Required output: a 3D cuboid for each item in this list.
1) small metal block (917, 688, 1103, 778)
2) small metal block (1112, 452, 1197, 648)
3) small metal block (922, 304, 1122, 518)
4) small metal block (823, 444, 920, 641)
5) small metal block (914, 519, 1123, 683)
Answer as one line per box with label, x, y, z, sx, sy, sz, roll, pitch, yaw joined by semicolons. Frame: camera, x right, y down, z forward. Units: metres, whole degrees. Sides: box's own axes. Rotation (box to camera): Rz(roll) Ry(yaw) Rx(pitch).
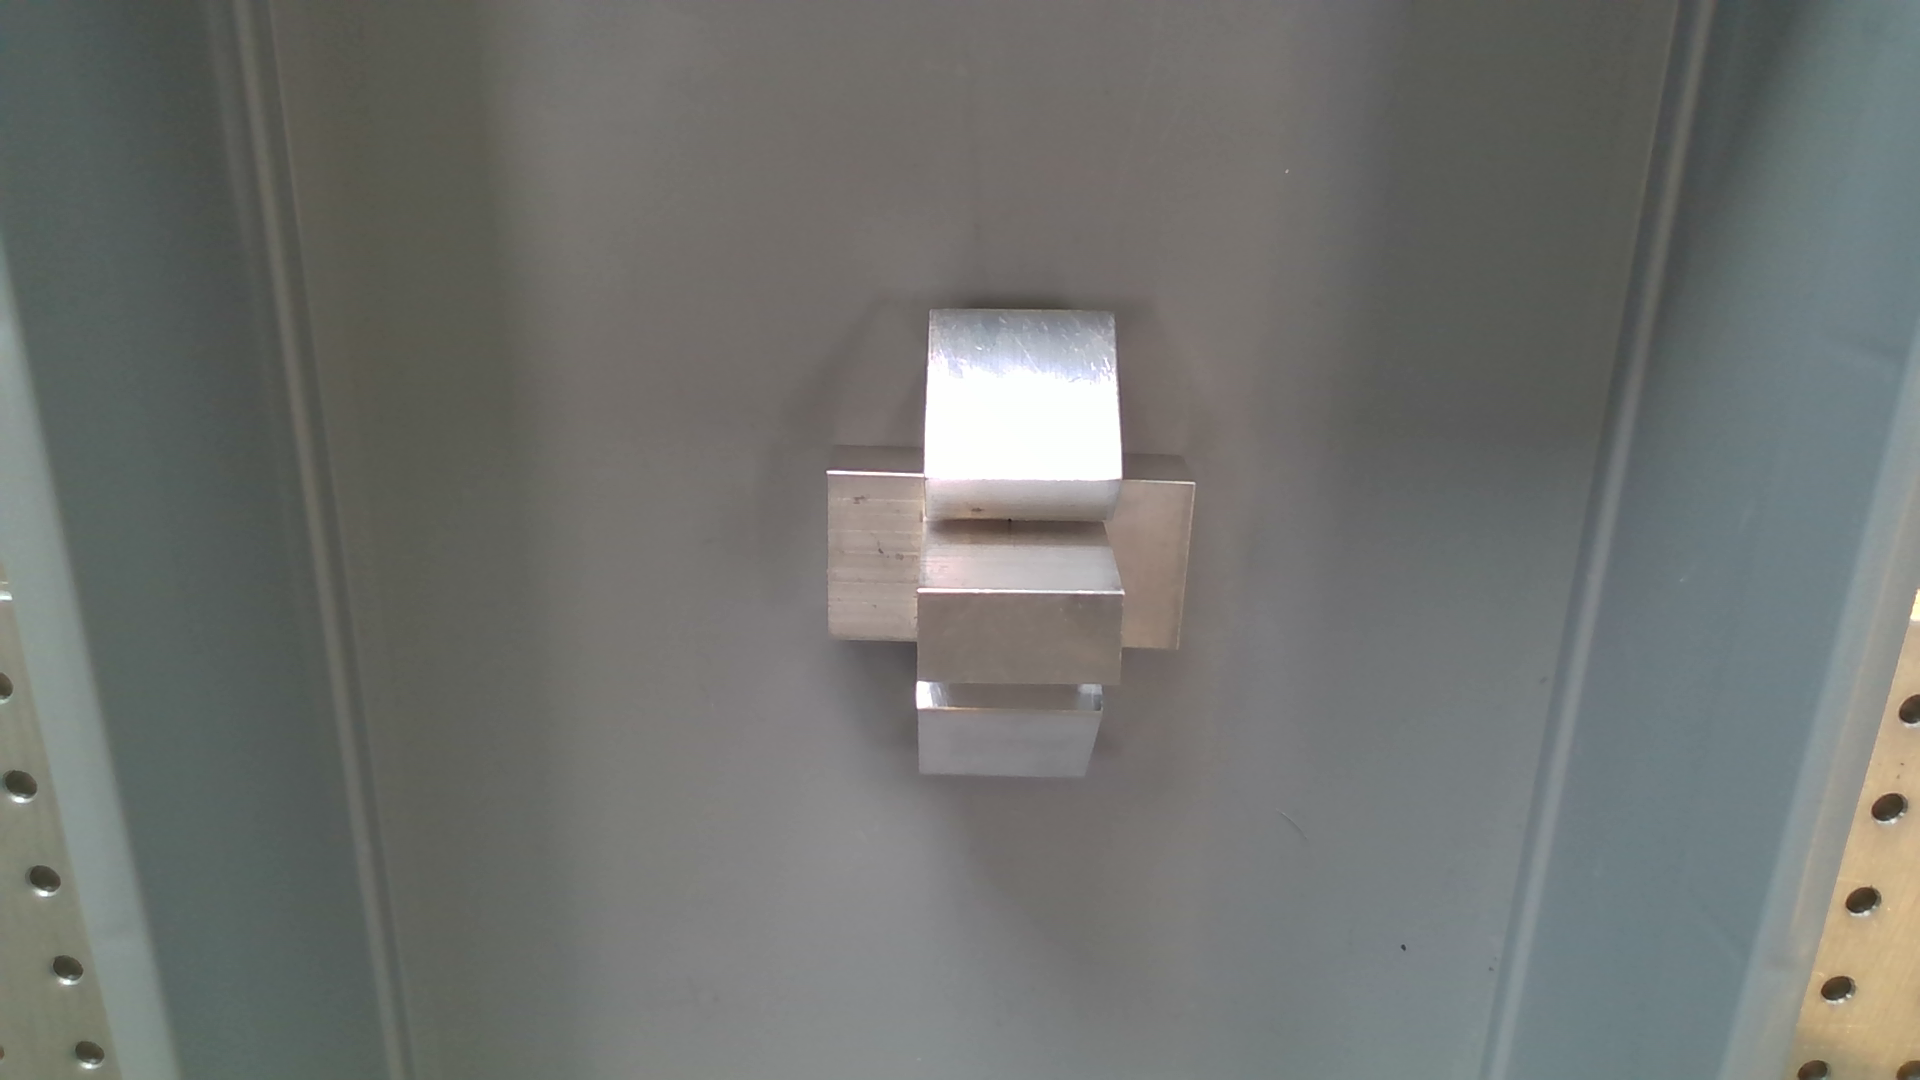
small metal block;0.013;0.047;0.397;0.050;0.025;0.050;2;149;0
small metal block;0.038;0.002;0.392;0.050;0.025;0.050;2;111;-1
small metal block;0.016;-0.034;0.365;0.050;0.025;0.050;1;67;0
small metal block;-0.013;0.001;0.392;0.050;0.025;0.050;2;110;-1
small metal block;0.014;0.015;0.357;0.050;0.050;0.025;0;111;0
